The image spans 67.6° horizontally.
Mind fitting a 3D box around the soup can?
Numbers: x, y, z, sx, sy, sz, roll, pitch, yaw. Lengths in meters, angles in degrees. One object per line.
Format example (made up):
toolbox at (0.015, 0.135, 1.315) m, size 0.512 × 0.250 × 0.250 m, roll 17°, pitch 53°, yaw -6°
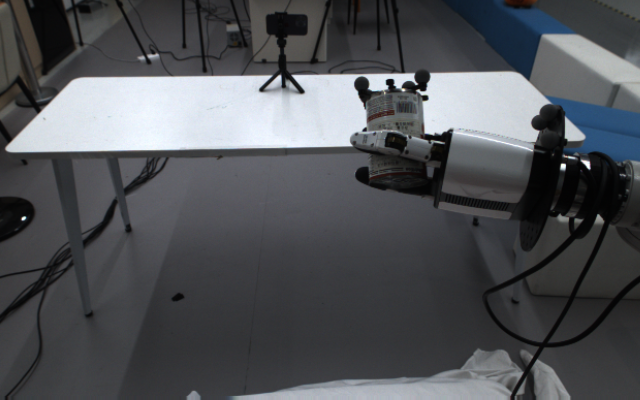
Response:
soup can at (0.089, -0.068, 0.557) m, size 0.067 × 0.101 × 0.067 m, roll -1°, pitch -9°, yaw 0°
